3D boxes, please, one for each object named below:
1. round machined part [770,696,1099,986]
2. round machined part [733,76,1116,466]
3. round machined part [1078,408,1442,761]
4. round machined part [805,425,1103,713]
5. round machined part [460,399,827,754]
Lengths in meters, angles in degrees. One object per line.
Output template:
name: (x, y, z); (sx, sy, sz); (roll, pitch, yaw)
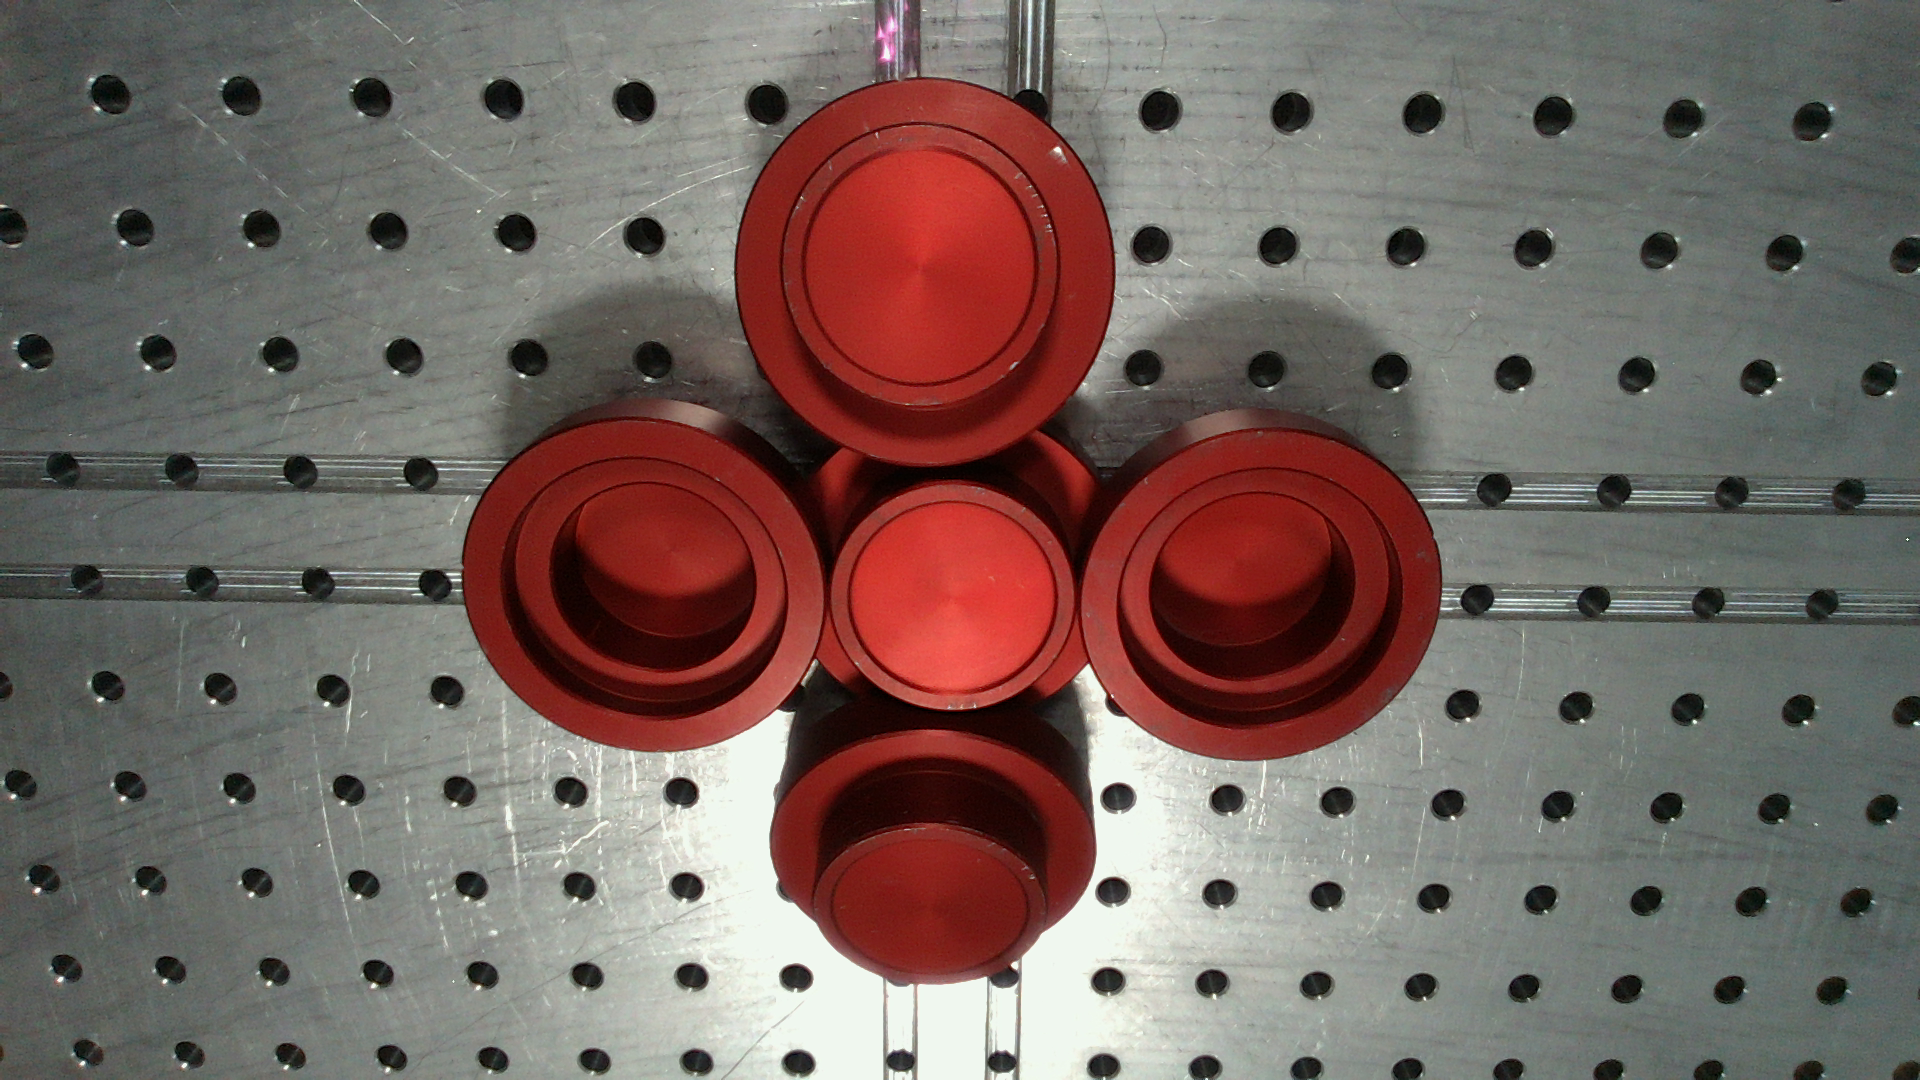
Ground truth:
round machined part: (-0.008, 0.094, 0.410); (0.098, 0.042, 0.098); (0, 125, 0)
round machined part: (-0.009, -0.068, 0.350); (0.098, 0.042, 0.098); (0, 96, 2)
round machined part: (0.081, 0.010, 0.391); (0.098, 0.042, 0.098); (0, 110, 0)
round machined part: (-0.002, 0.009, 0.390); (0.098, 0.042, 0.098); (0, 110, 0)
round machined part: (-0.085, 0.007, 0.389); (0.098, 0.042, 0.098); (0, 110, 0)
